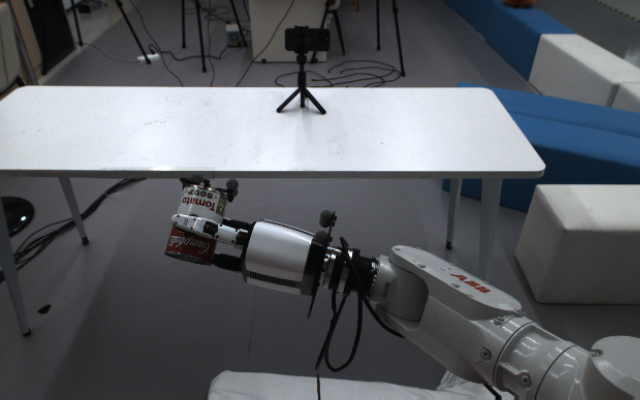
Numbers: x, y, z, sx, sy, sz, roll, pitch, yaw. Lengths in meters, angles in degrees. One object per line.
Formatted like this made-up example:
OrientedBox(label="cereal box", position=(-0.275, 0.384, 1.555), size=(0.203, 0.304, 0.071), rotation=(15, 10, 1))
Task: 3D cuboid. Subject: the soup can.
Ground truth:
OrientedBox(label="soup can", position=(-0.176, 0.038, 0.696), size=(0.067, 0.067, 0.101), rotation=(8, 74, 9))
